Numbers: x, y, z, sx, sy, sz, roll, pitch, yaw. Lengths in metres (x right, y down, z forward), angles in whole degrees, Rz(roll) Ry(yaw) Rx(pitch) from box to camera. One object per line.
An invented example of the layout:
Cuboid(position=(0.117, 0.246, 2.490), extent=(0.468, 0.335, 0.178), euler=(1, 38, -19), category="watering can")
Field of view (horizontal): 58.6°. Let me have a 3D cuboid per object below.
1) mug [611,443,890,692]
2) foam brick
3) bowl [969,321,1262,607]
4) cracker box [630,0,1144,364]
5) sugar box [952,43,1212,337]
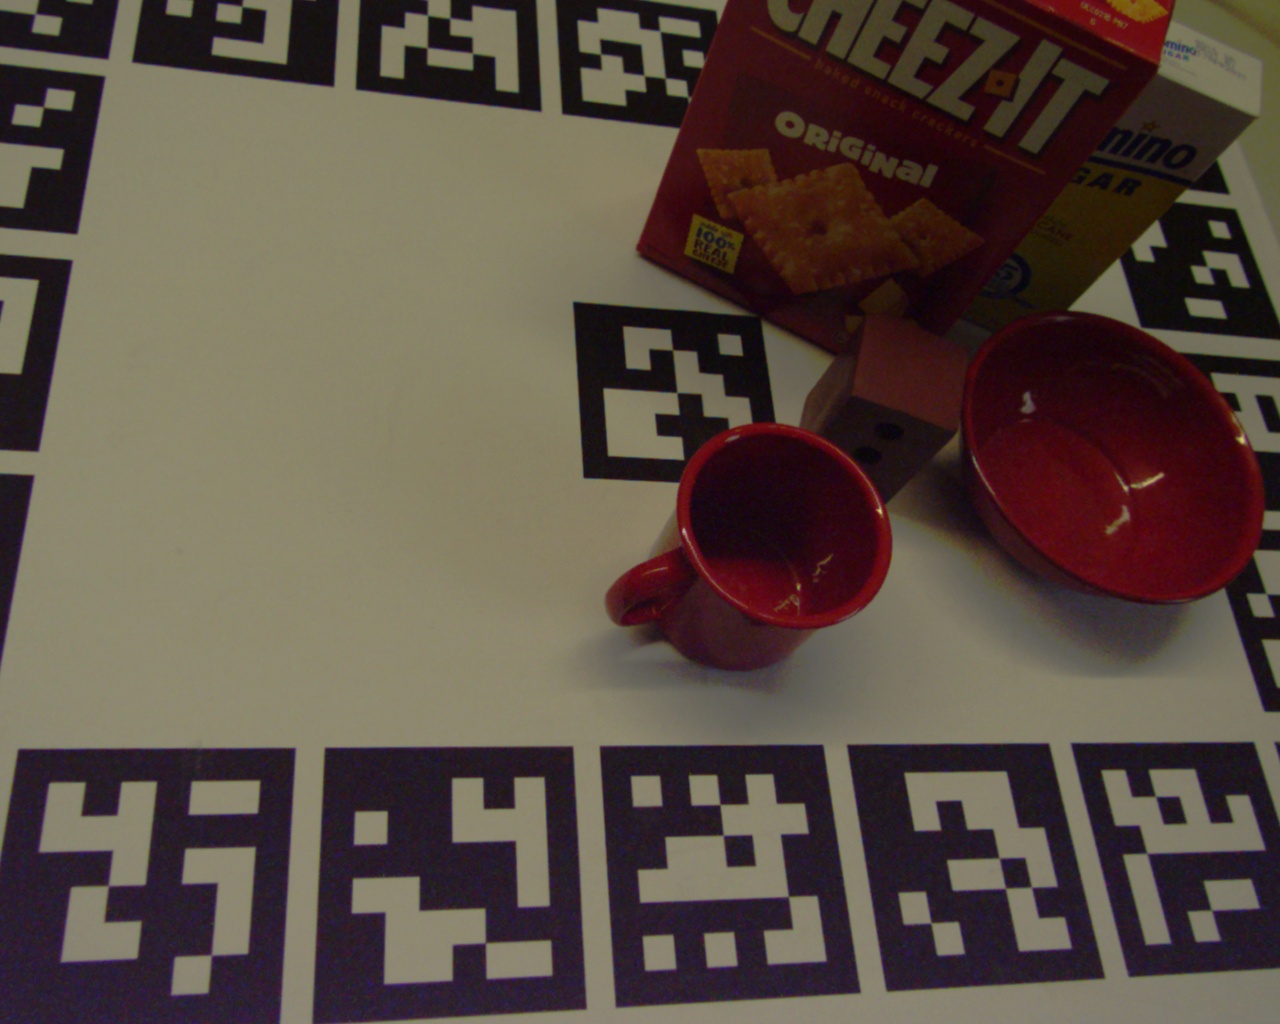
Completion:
Cuboid(position=(0.043, 0.031, 0.513), extent=(0.116, 0.081, 0.094), euler=(-8, 58, -16), category="mug")
Cuboid(position=(0.111, -0.047, 0.581), extent=(0.052, 0.078, 0.051), euler=(15, 60, -7), category="foam brick")
Cuboid(position=(0.233, -0.018, 0.593), extent=(0.161, 0.055, 0.162), euler=(5, 64, -12), category="bowl")
Cuboid(position=(0.104, -0.169, 0.559), extent=(0.164, 0.214, 0.072), euler=(28, 58, -1), category="cracker box")
Cuboid(position=(0.205, -0.171, 0.605), extent=(0.093, 0.177, 0.045), euler=(21, 61, -4), category="sugar box")
